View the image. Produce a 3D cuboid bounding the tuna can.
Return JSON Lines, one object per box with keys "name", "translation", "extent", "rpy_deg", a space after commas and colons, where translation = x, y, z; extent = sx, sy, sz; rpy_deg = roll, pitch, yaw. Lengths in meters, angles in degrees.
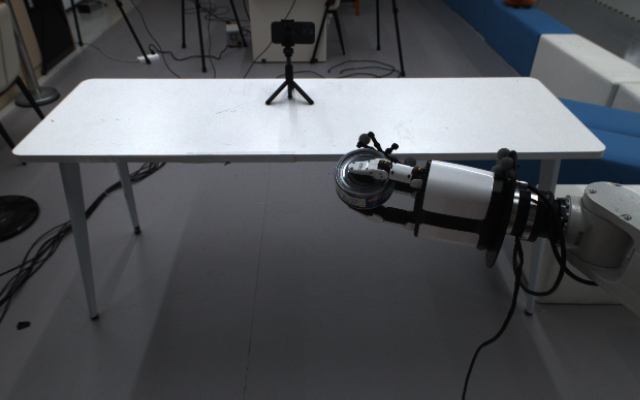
{"name": "tuna can", "translation": [0.067, -0.025, 0.687], "extent": [0.085, 0.034, 0.085], "rpy_deg": [-4, 58, 6]}
